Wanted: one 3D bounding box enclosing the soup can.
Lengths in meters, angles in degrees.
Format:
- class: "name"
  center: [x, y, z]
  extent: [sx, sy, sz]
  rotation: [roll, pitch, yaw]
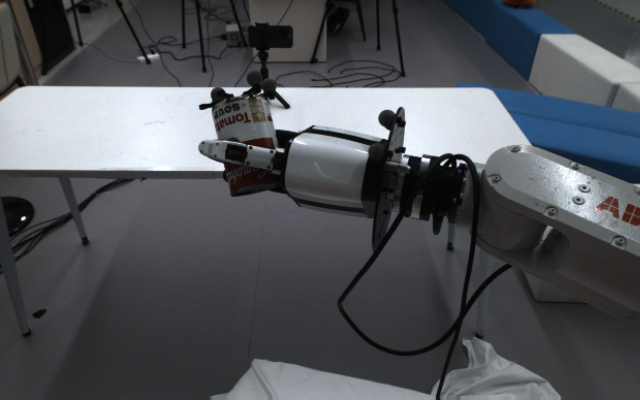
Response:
- class: "soup can"
  center: [-0.080, -0.061, 0.557]
  extent: [0.067, 0.101, 0.067]
  rotation: [-14, -2, -1]
